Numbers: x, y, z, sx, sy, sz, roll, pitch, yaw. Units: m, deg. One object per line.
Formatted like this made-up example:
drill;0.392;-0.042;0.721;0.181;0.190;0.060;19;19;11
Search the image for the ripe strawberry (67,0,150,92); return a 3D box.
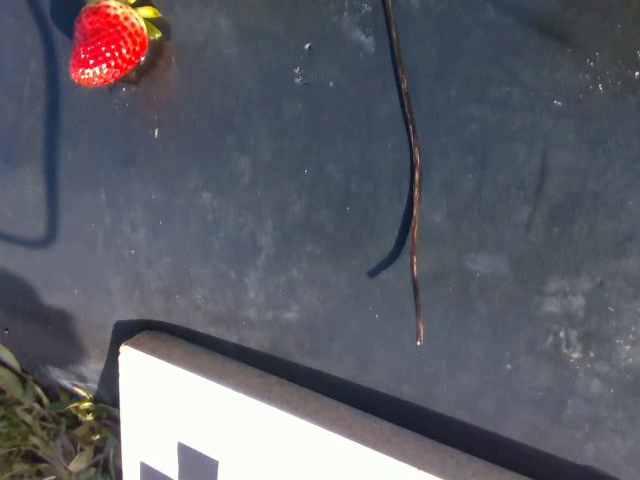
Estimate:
ripe strawberry;-0.073;-0.065;0.205;0.028;0.041;0.031;-10;-45;32
